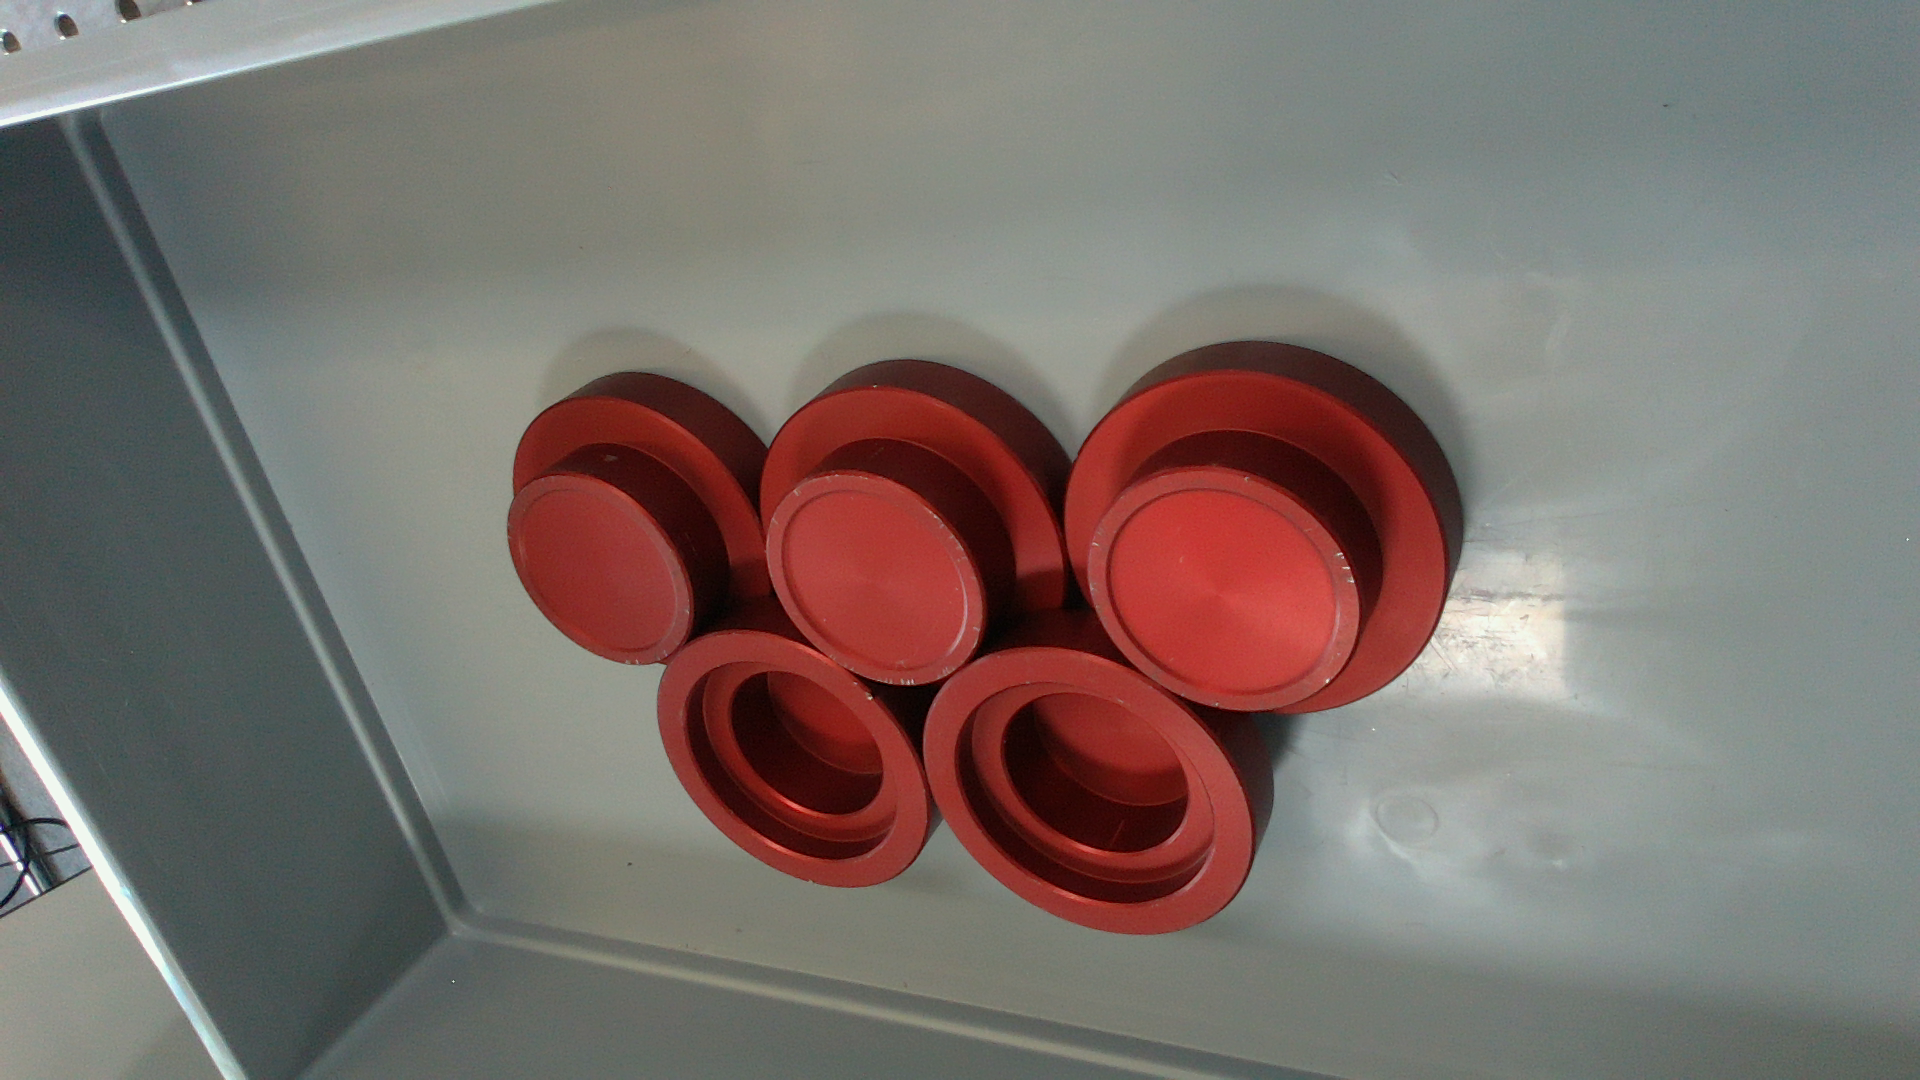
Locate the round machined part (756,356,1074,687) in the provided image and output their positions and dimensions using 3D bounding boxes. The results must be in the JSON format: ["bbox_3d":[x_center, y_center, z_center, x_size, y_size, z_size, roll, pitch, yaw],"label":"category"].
[{"bbox_3d":[-0.017,0.001,0.389,0.098,0.042,0.098,14,124,22],"label":"round machined part"}]

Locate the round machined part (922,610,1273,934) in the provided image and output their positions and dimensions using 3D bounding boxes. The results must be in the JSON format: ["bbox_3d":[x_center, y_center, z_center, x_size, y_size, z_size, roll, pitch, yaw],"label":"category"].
[{"bbox_3d":[0.042,0.062,0.396,0.098,0.042,0.098,13,124,21],"label":"round machined part"}]

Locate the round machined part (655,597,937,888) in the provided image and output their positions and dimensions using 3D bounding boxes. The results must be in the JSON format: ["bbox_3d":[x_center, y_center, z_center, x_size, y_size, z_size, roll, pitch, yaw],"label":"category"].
[{"bbox_3d":[-0.045,0.060,0.441,0.098,0.042,0.098,13,124,21],"label":"round machined part"}]

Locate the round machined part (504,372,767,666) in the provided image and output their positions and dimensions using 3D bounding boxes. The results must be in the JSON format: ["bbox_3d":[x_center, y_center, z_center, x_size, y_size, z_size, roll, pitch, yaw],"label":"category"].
[{"bbox_3d":[-0.103,0.000,0.434,0.098,0.042,0.098,13,123,21],"label":"round machined part"}]

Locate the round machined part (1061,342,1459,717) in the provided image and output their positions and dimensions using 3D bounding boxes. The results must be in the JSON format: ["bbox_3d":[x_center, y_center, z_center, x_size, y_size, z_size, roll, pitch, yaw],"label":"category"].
[{"bbox_3d":[0.070,0.004,0.344,0.098,0.042,0.098,14,124,22],"label":"round machined part"}]
